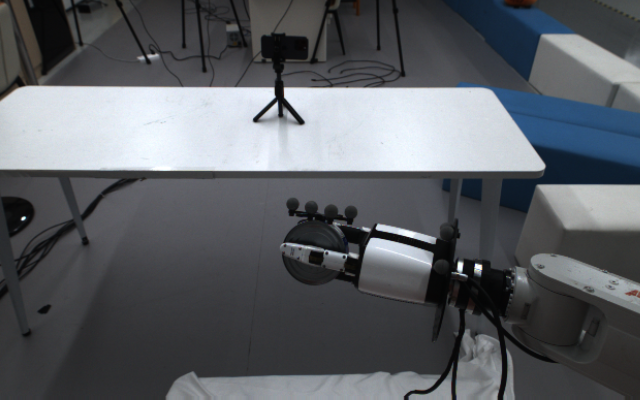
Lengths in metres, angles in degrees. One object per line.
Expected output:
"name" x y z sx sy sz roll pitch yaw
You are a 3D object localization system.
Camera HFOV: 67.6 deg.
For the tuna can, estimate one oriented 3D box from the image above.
"tuna can" -0.004 0.067 0.643 0.085 0.085 0.034 11 2 13
